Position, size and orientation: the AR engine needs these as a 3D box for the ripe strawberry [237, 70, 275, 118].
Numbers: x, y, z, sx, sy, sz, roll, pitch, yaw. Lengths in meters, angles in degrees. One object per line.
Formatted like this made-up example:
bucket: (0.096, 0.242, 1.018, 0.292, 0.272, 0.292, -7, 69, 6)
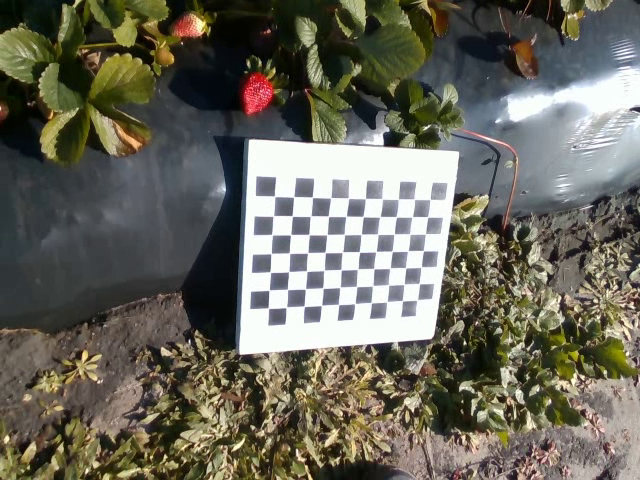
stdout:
ripe strawberry: (-0.082, -0.167, 0.620, 0.058, 0.066, 0.062, -34, 28, 20)
